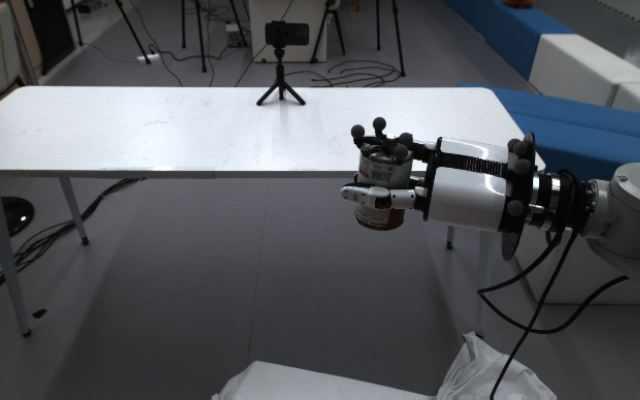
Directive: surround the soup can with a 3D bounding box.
[{"bbox_3d":[0.082,-0.021,0.626,0.067,0.101,0.067,2,32,-1],"label":"soup can"}]
